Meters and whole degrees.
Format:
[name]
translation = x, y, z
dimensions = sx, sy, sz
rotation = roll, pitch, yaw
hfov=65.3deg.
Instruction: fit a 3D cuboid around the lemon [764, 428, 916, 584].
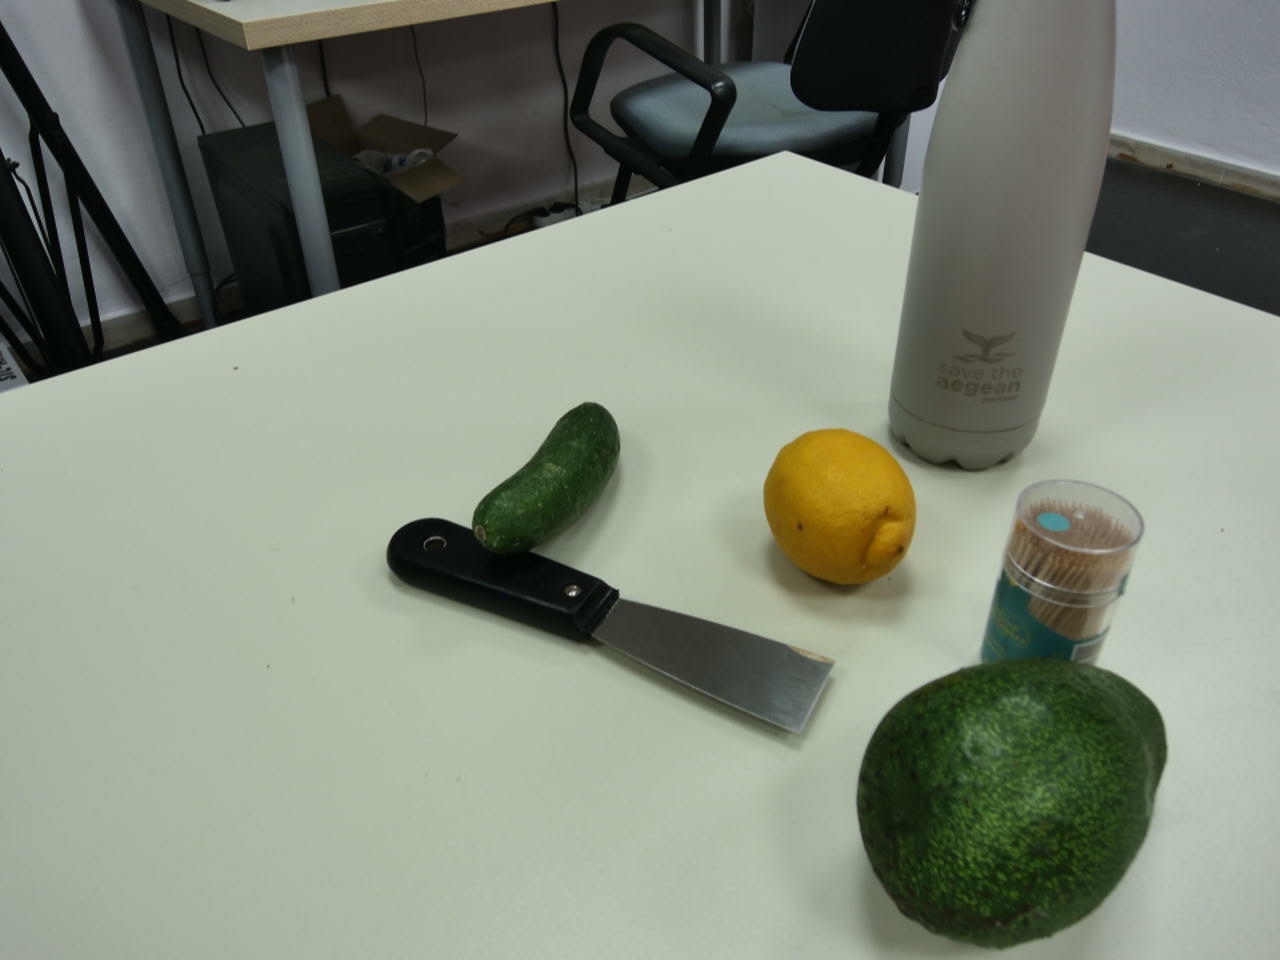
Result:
[lemon]
translation = 0.082, 0.011, 0.413
dimensions = 0.061, 0.059, 0.066
rotation = 2, 35, 4
